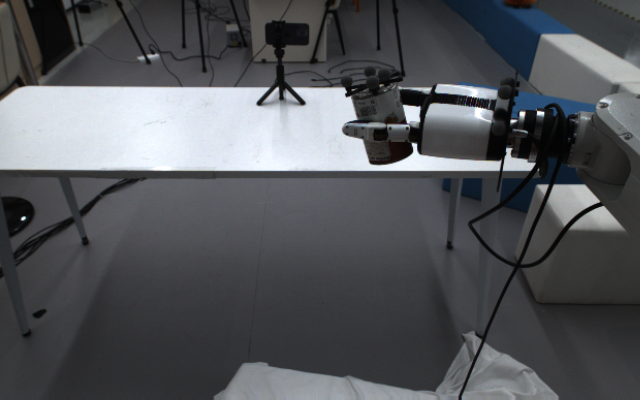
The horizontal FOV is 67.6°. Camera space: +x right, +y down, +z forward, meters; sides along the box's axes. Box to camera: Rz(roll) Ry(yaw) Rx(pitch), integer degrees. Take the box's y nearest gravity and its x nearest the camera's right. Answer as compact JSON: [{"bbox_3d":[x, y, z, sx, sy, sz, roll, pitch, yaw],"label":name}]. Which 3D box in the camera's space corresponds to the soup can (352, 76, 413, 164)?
[{"bbox_3d":[0.089,-0.109,0.683,0.067,0.101,0.067,-16,23,7],"label":"soup can"}]
